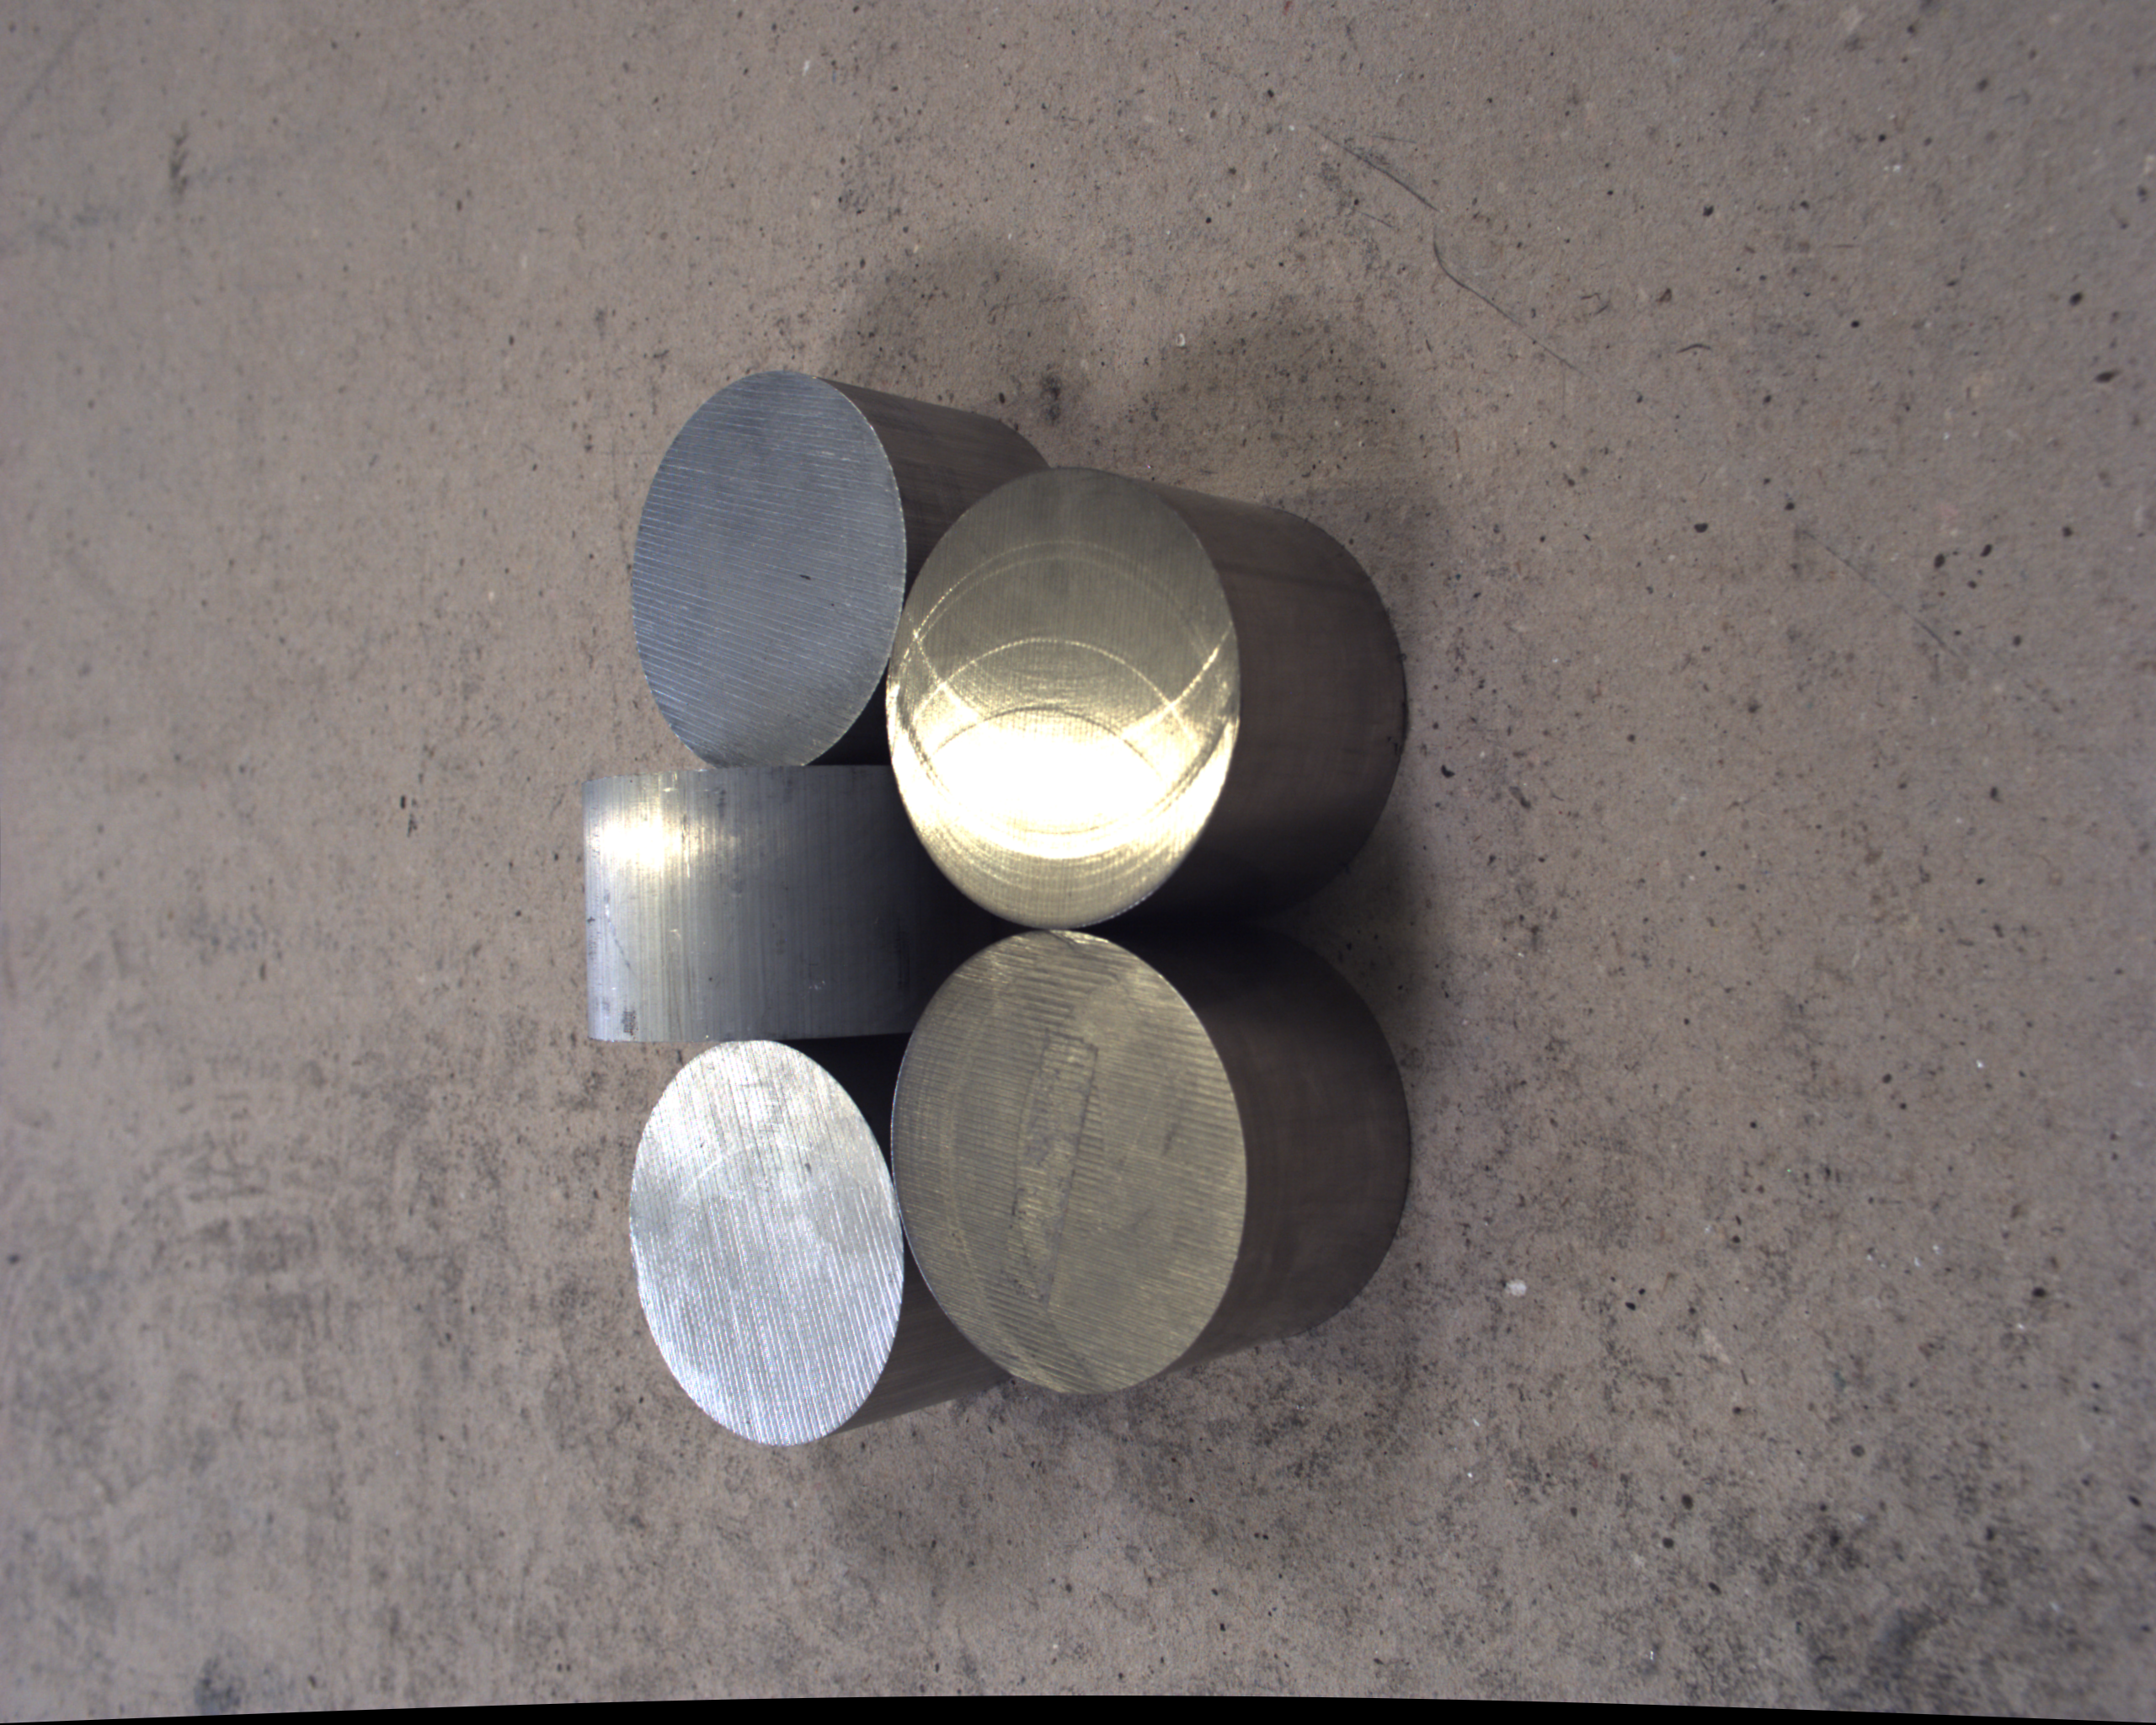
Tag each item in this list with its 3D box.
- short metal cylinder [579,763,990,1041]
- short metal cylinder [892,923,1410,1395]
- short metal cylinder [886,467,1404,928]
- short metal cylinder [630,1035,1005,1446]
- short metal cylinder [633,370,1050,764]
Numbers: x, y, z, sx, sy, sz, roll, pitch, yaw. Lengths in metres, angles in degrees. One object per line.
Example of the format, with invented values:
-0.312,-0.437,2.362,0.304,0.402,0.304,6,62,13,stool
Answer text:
-0.058,0.008,0.419,0.080,0.081,0.050,-4,88,40,short metal cylinder
0.012,0.051,0.379,0.080,0.050,0.080,1,91,41,short metal cylinder
0.011,-0.029,0.380,0.080,0.050,0.080,1,91,40,short metal cylinder
-0.047,0.074,0.429,0.080,0.050,0.080,0,91,41,short metal cylinder
-0.046,-0.057,0.428,0.080,0.050,0.080,0,91,41,short metal cylinder
